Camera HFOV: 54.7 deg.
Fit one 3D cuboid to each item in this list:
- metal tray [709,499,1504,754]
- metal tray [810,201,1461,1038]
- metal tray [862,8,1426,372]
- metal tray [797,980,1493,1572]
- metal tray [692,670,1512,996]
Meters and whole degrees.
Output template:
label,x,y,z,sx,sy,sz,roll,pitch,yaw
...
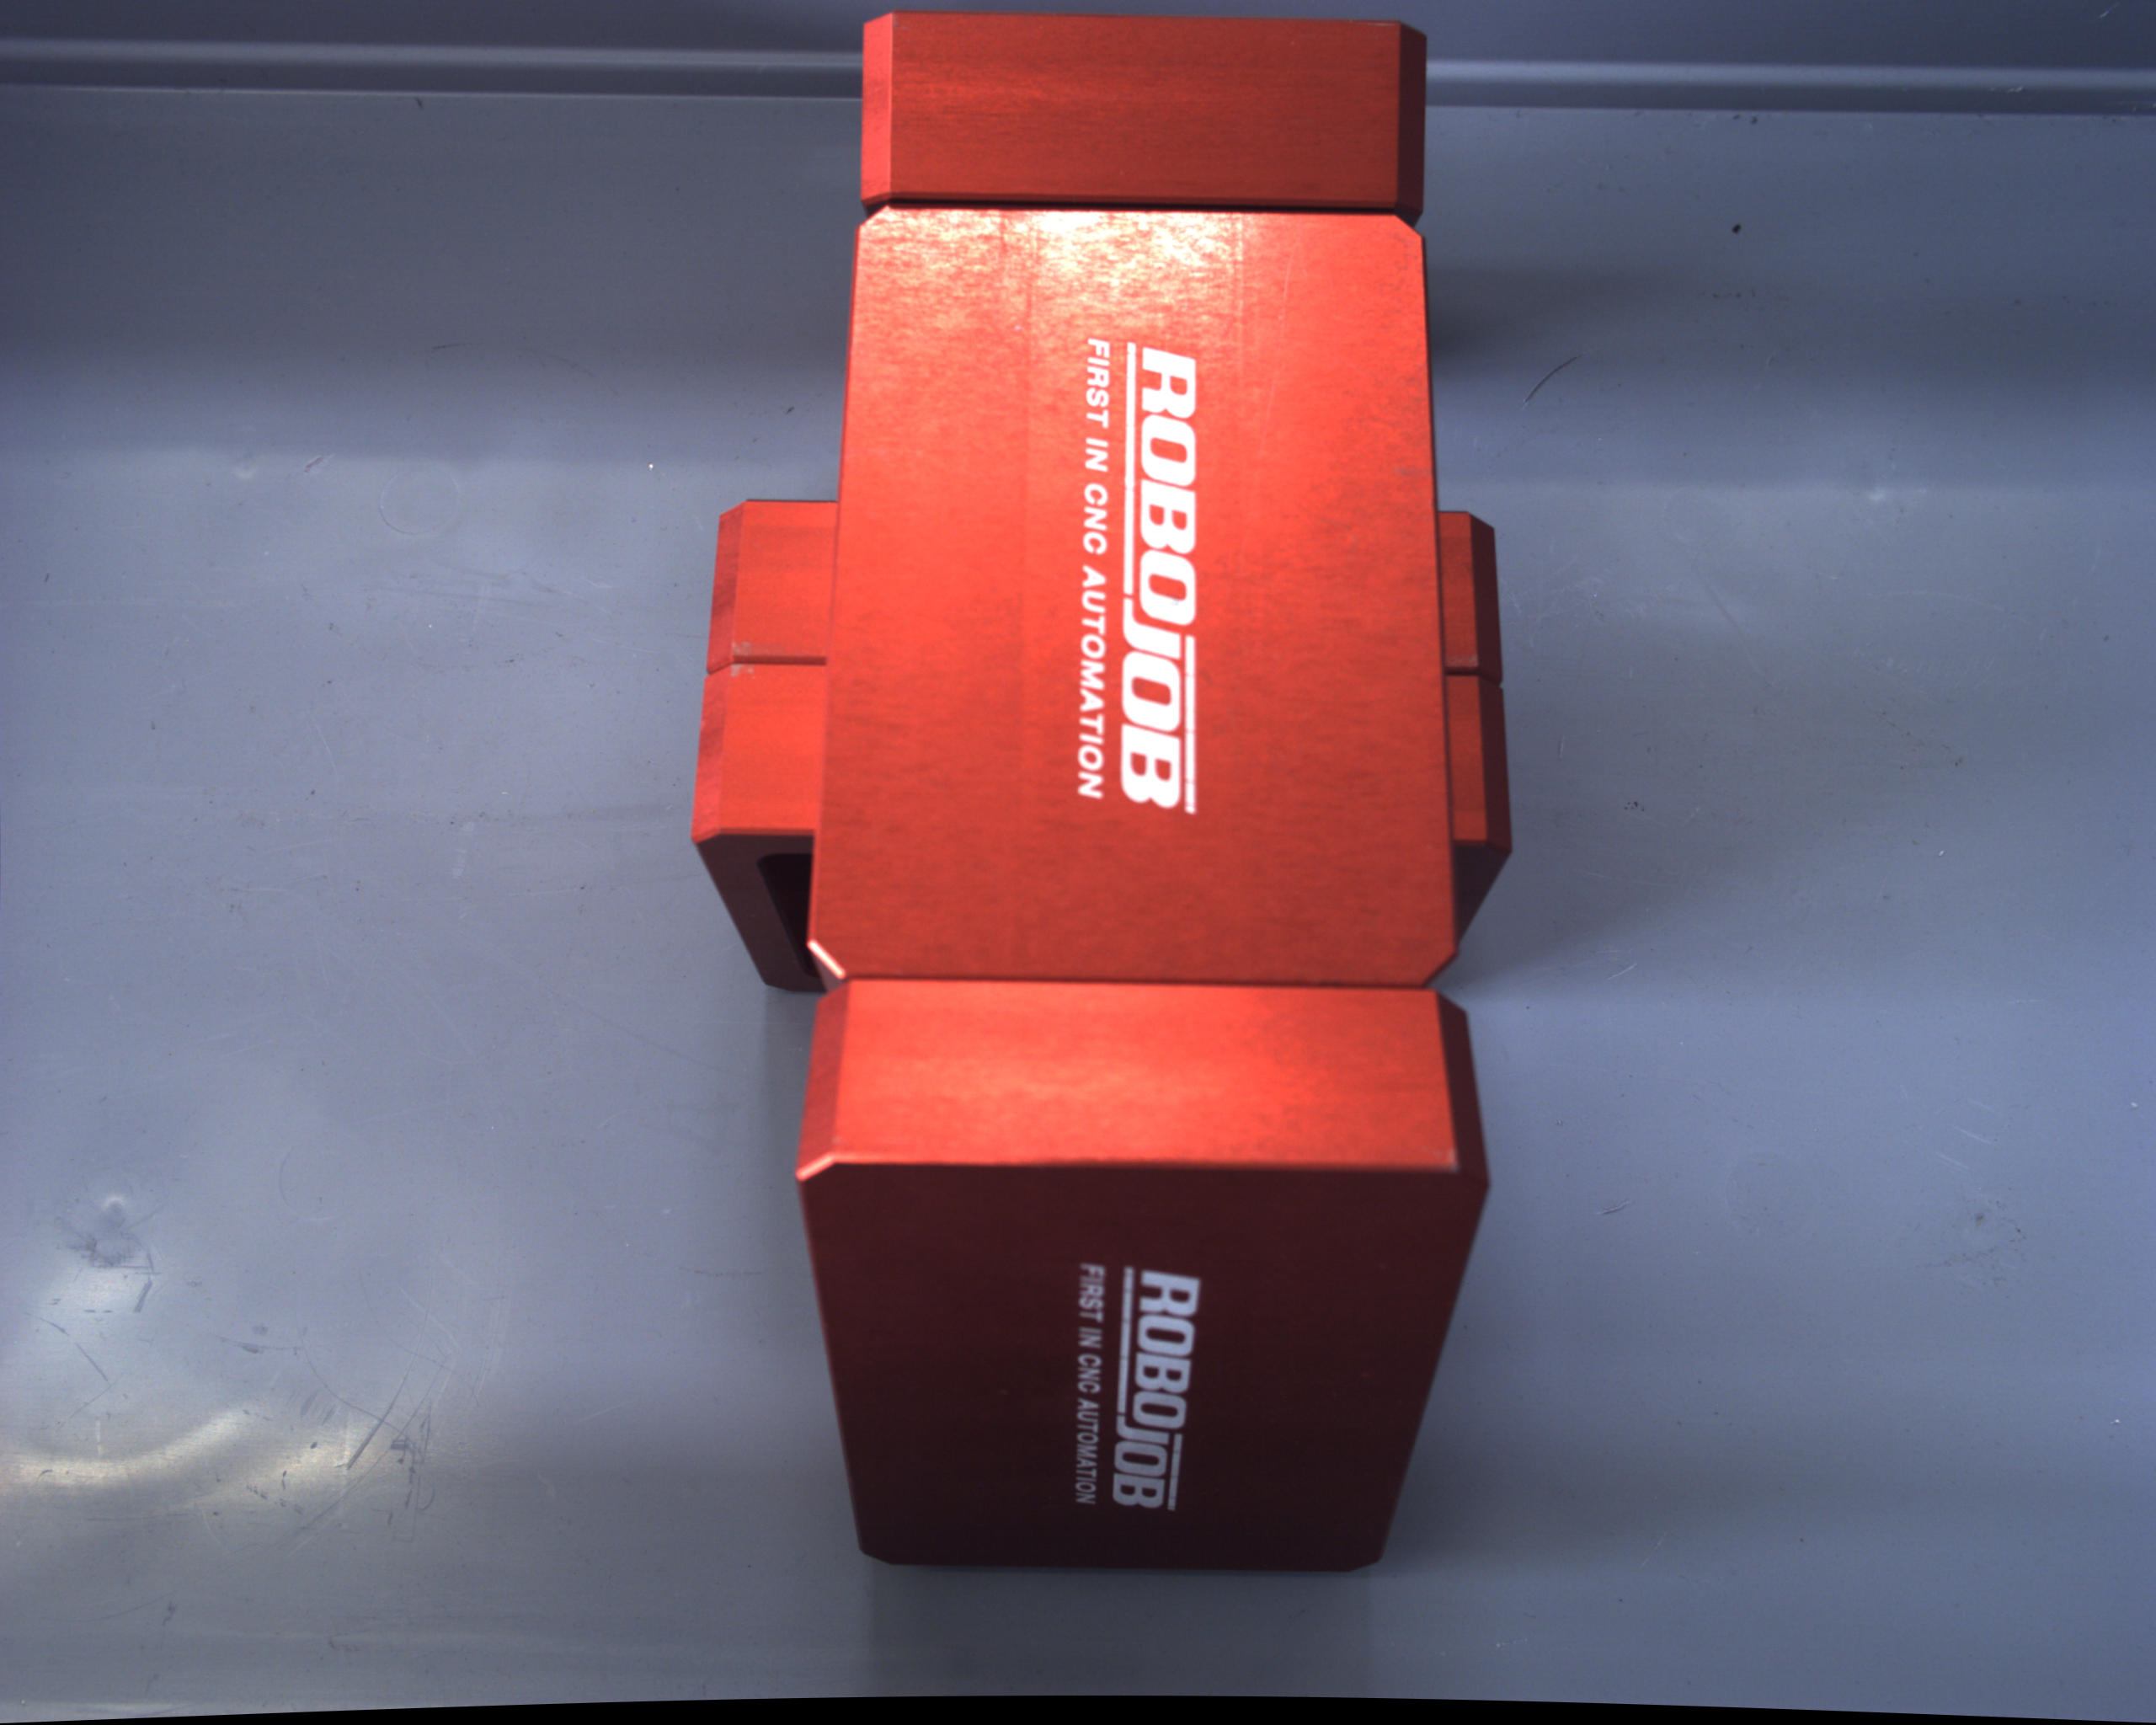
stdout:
label,x,y,z,sx,sy,sz,roll,pitch,yaw
metal tray,0.005,-0.031,0.385,0.131,0.090,0.030,1,70,0
metal tray,0.009,-0.039,0.324,0.091,0.030,0.130,1,70,-1
metal tray,0.011,-0.121,0.396,0.091,0.130,0.030,1,91,0
metal tray,0.008,0.070,0.325,0.091,0.129,0.030,1,49,-1
metal tray,0.004,-0.002,0.375,0.131,0.090,0.030,1,70,0
